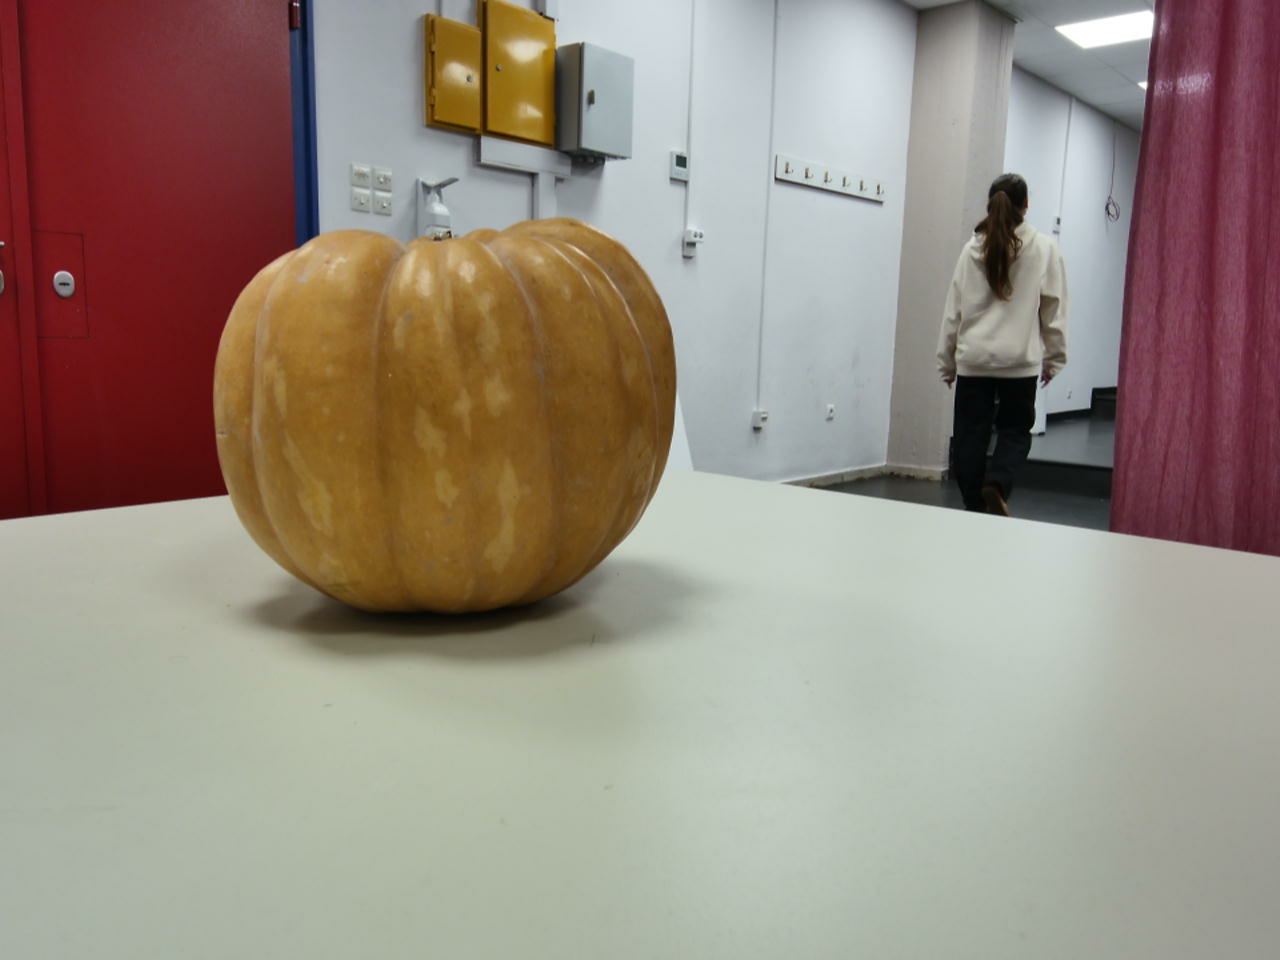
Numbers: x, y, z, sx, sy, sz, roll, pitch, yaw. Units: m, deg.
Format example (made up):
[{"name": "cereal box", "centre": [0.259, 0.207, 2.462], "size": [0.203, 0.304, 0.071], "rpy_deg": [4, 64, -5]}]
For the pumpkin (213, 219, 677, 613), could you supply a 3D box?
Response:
[{"name": "pumpkin", "centre": [-0.093, -0.035, 0.504], "size": [0.230, 0.194, 0.230], "rpy_deg": [0, 7, 0]}]
